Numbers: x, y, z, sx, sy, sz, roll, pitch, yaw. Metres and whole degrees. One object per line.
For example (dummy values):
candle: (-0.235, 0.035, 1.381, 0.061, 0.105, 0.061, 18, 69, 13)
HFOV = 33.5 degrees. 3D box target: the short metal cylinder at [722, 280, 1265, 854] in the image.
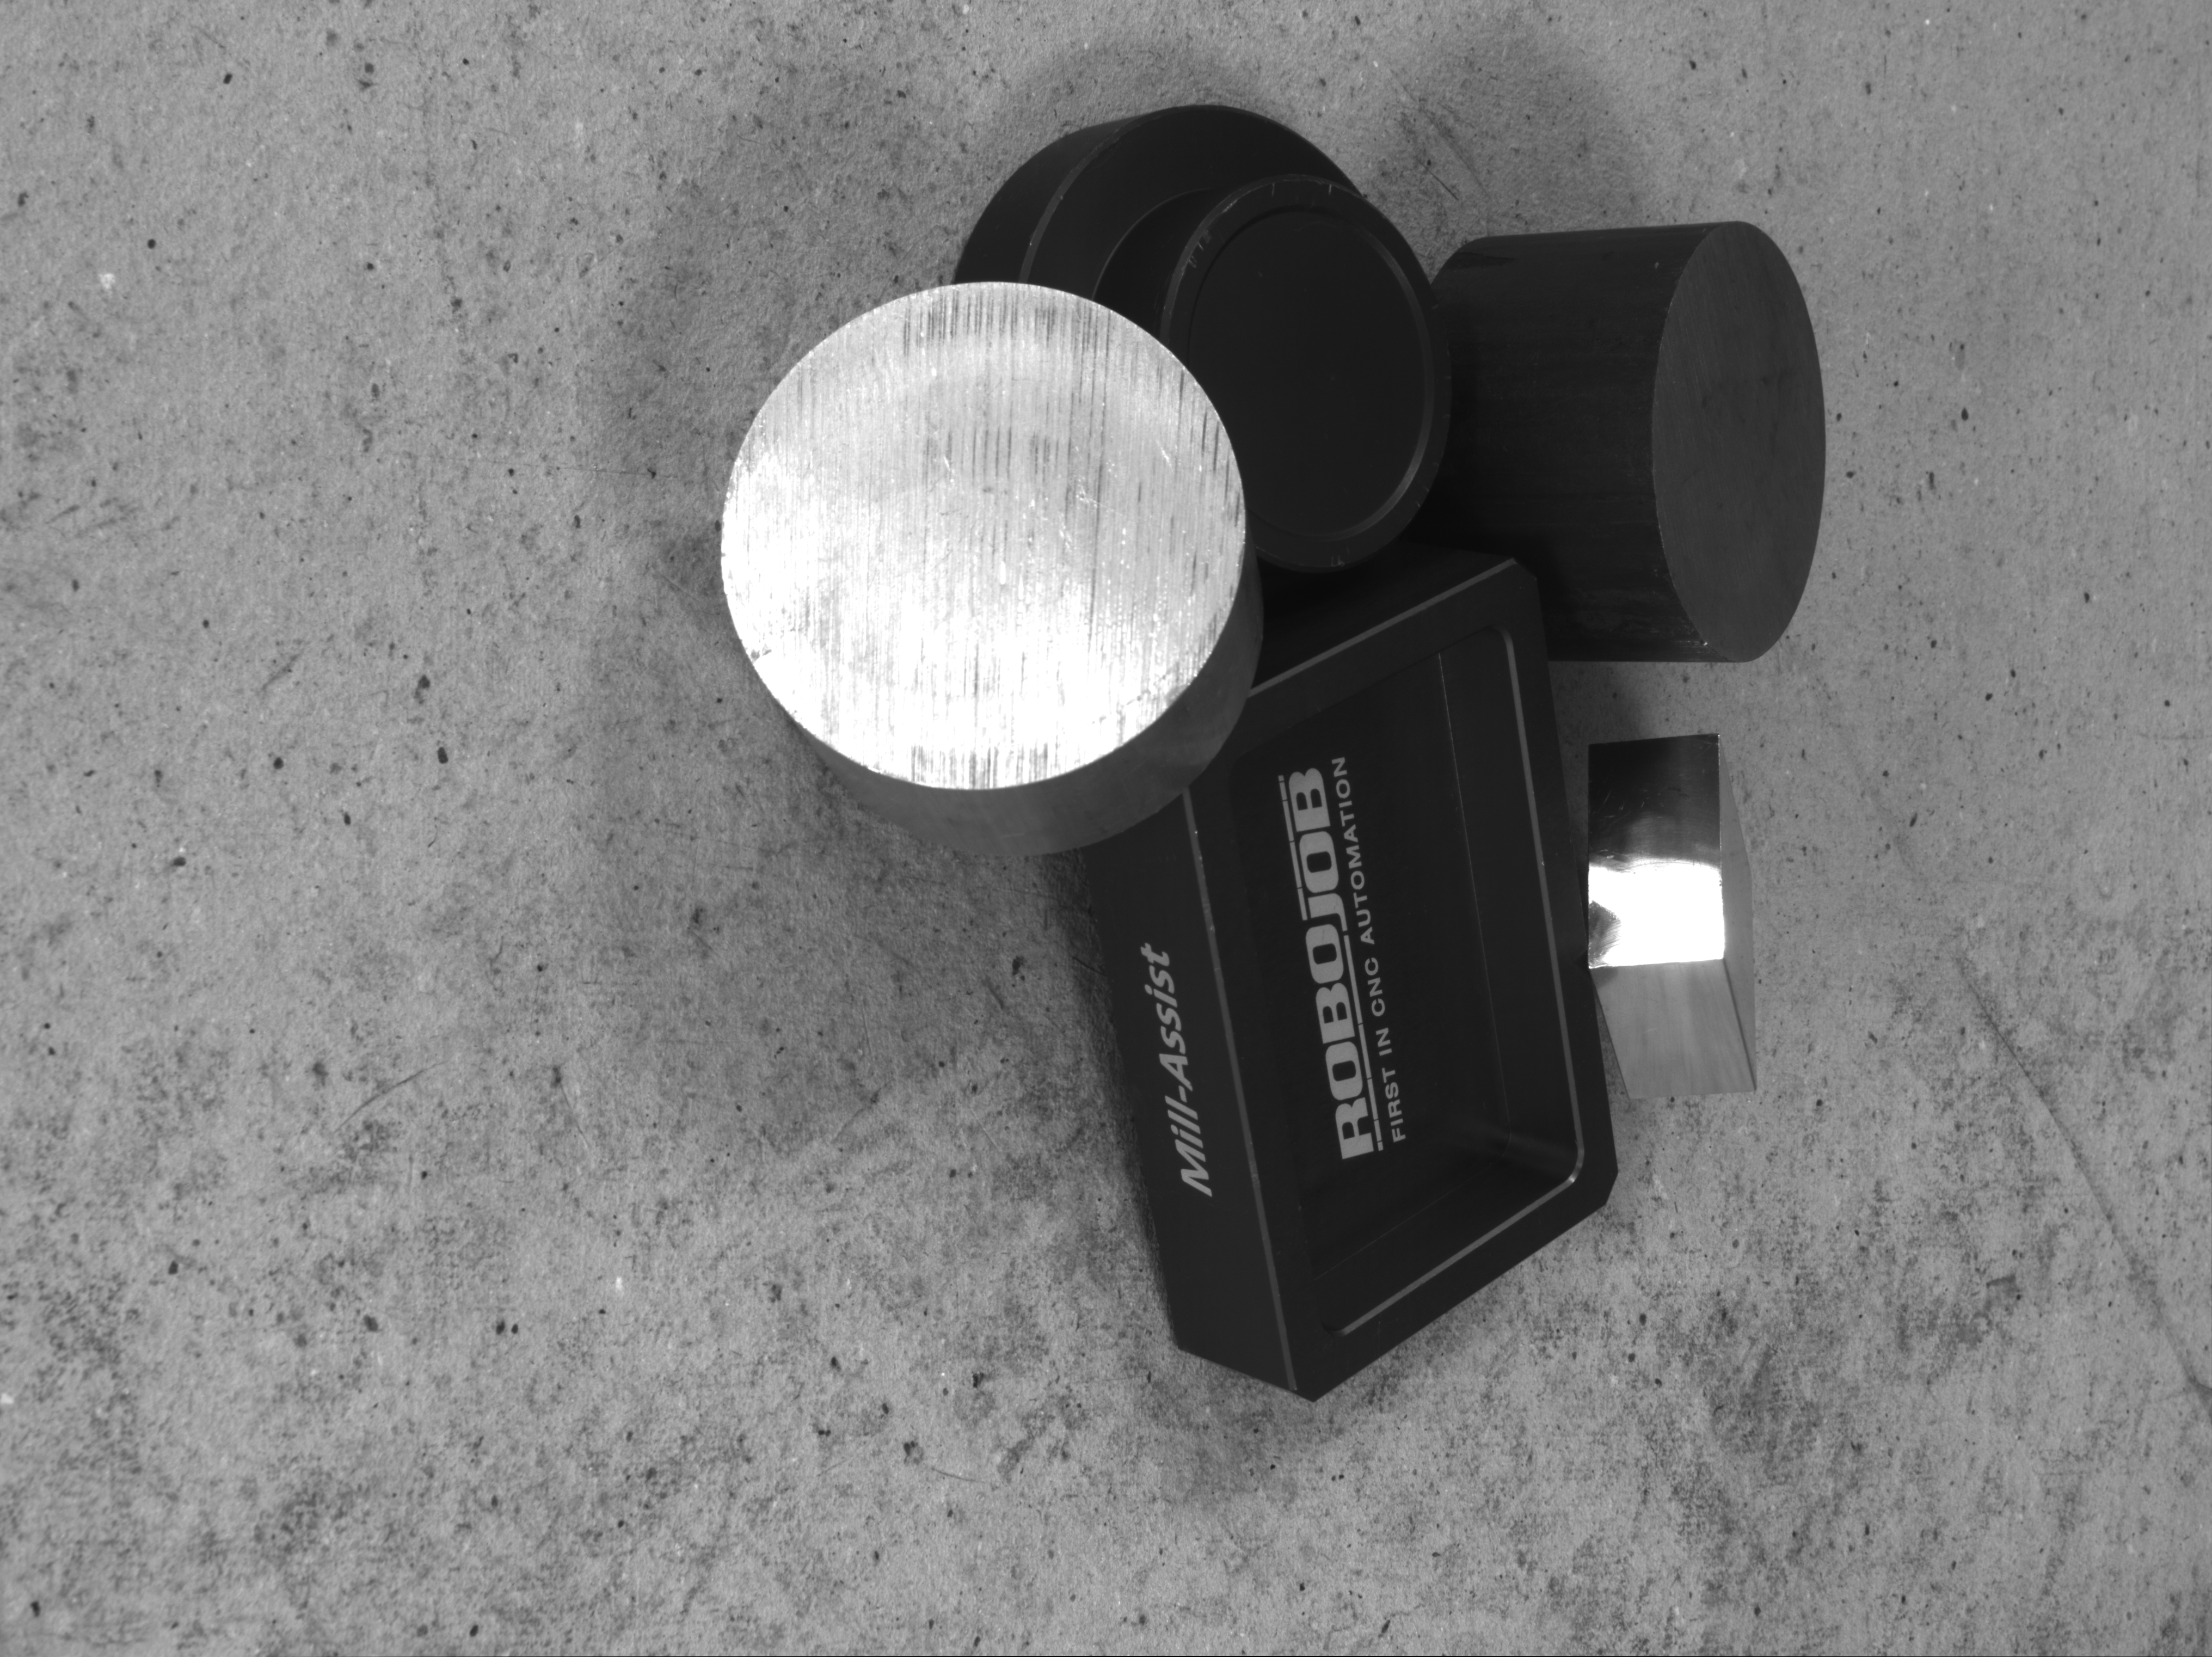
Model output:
short metal cylinder: (-0.016, -0.040, 0.579, 0.050, 0.080, 0.080, 65, 37, -77)

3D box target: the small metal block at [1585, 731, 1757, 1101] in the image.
small metal block: (0.108, 0.017, 0.704, 0.050, 0.025, 0.050, 64, 25, -52)

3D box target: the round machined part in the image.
round machined part: (0.022, -0.078, 0.644, 0.098, 0.042, 0.098, 0, 90, -40)

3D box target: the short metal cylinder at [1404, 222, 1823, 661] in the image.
short metal cylinder: (0.095, -0.071, 0.686, 0.080, 0.050, 0.080, -5, 96, -57)

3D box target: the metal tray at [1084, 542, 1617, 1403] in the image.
metal tray: (0.044, 0.024, 0.655, 0.090, 0.030, 0.130, -28, 117, -36)
